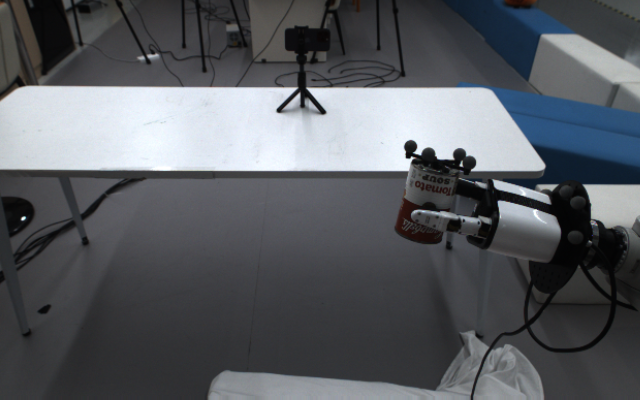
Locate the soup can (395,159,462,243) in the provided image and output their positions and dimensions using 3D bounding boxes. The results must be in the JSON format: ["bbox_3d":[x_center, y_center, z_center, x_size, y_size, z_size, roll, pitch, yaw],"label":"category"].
[{"bbox_3d":[0.148,-0.001,0.663,0.067,0.101,0.067,9,20,-3],"label":"soup can"}]
